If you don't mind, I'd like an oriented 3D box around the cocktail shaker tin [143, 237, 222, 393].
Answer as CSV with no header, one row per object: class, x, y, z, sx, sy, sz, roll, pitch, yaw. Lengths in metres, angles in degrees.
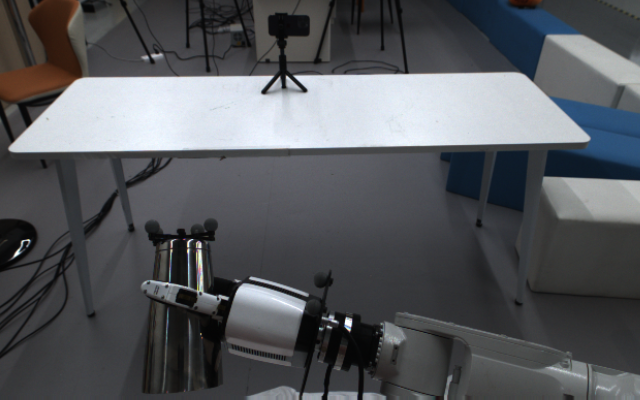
cocktail shaker tin,-0.165,0.138,0.585,0.093,0.093,0.170,-3,76,-7
